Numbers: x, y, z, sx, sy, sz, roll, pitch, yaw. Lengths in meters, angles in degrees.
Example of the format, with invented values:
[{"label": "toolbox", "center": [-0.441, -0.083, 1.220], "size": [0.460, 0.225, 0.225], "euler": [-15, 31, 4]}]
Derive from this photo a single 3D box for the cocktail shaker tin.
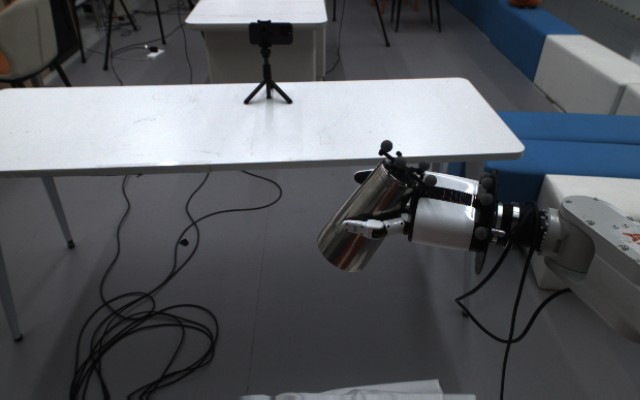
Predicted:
[{"label": "cocktail shaker tin", "center": [0.076, 0.017, 0.749], "size": [0.093, 0.170, 0.093], "euler": [26, 32, -17]}]
